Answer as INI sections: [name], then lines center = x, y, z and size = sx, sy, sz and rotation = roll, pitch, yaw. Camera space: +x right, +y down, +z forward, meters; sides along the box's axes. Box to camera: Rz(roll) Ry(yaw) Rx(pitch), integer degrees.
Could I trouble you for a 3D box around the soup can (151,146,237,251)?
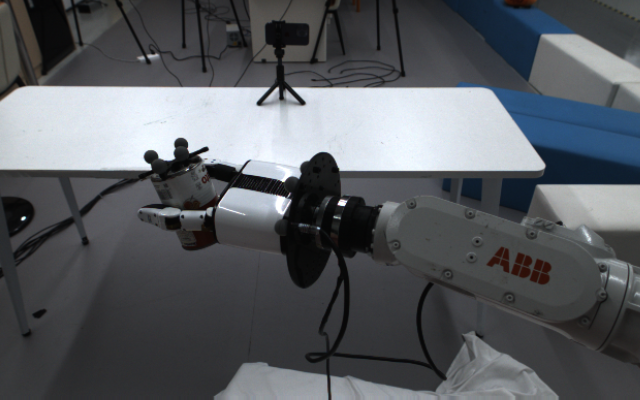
[soup can]
center = -0.160, 0.005, 0.610
size = 0.067, 0.101, 0.067
rotation = -16, 22, 7
